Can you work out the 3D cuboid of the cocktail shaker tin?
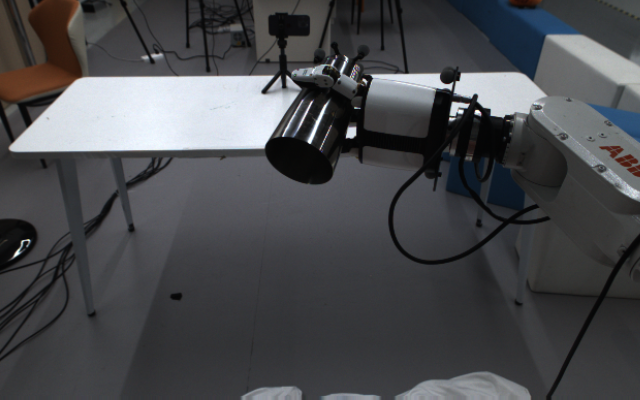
[{"bbox_3d":[0.001,-0.117,0.646,0.093,0.093,0.170,13,57,16],"label":"cocktail shaker tin"}]
